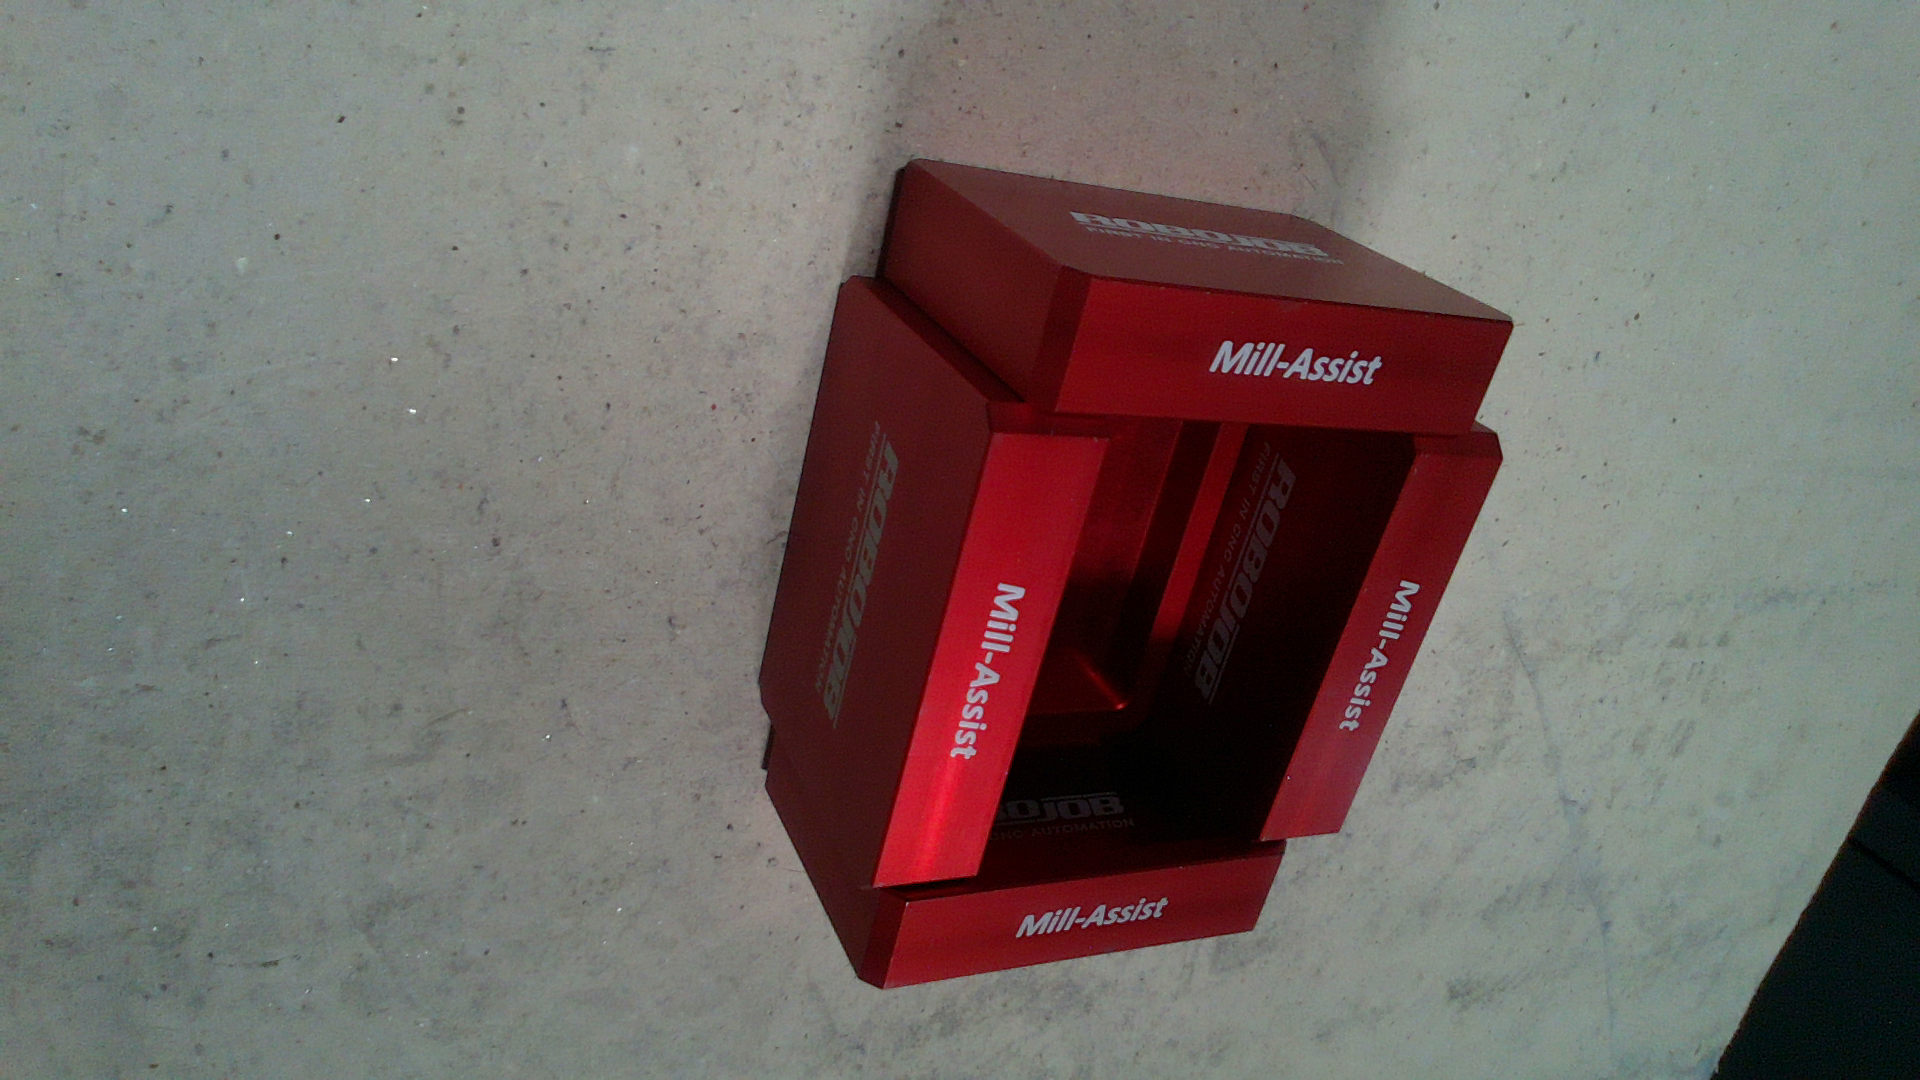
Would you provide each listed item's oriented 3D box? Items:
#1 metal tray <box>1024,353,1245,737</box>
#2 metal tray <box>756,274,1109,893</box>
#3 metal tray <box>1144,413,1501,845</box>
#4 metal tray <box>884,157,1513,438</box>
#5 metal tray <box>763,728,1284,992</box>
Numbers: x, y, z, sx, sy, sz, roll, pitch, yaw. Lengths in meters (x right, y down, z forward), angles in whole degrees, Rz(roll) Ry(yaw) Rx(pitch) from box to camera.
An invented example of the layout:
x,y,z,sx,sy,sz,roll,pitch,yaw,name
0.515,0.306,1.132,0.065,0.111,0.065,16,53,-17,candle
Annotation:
x,y,z,sx,sy,sz,roll,pitch,yaw,name
0.027,-0.004,0.398,0.090,0.030,0.130,1,118,-29,metal tray
-0.013,0.010,0.346,0.030,0.090,0.130,1,118,-28,metal tray
0.093,0.011,0.404,0.030,0.090,0.130,1,118,-28,metal tray
0.058,-0.060,0.341,0.130,0.090,0.030,1,118,-29,metal tray
0.018,0.081,0.406,0.130,0.090,0.030,1,118,-29,metal tray
